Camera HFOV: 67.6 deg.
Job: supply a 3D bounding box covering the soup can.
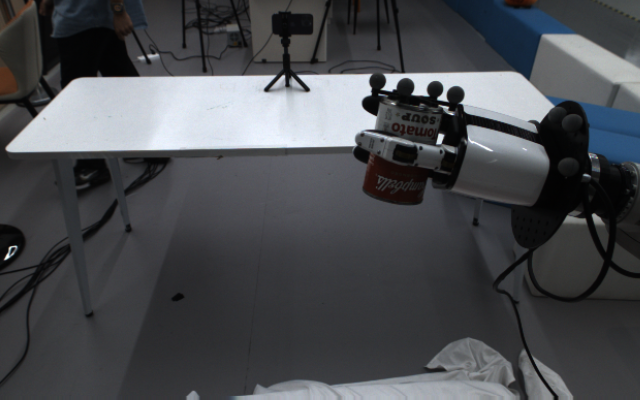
[{"bbox_3d":[0.089,-0.053,0.516,0.067,0.101,0.067,8,19,-3],"label":"soup can"}]
